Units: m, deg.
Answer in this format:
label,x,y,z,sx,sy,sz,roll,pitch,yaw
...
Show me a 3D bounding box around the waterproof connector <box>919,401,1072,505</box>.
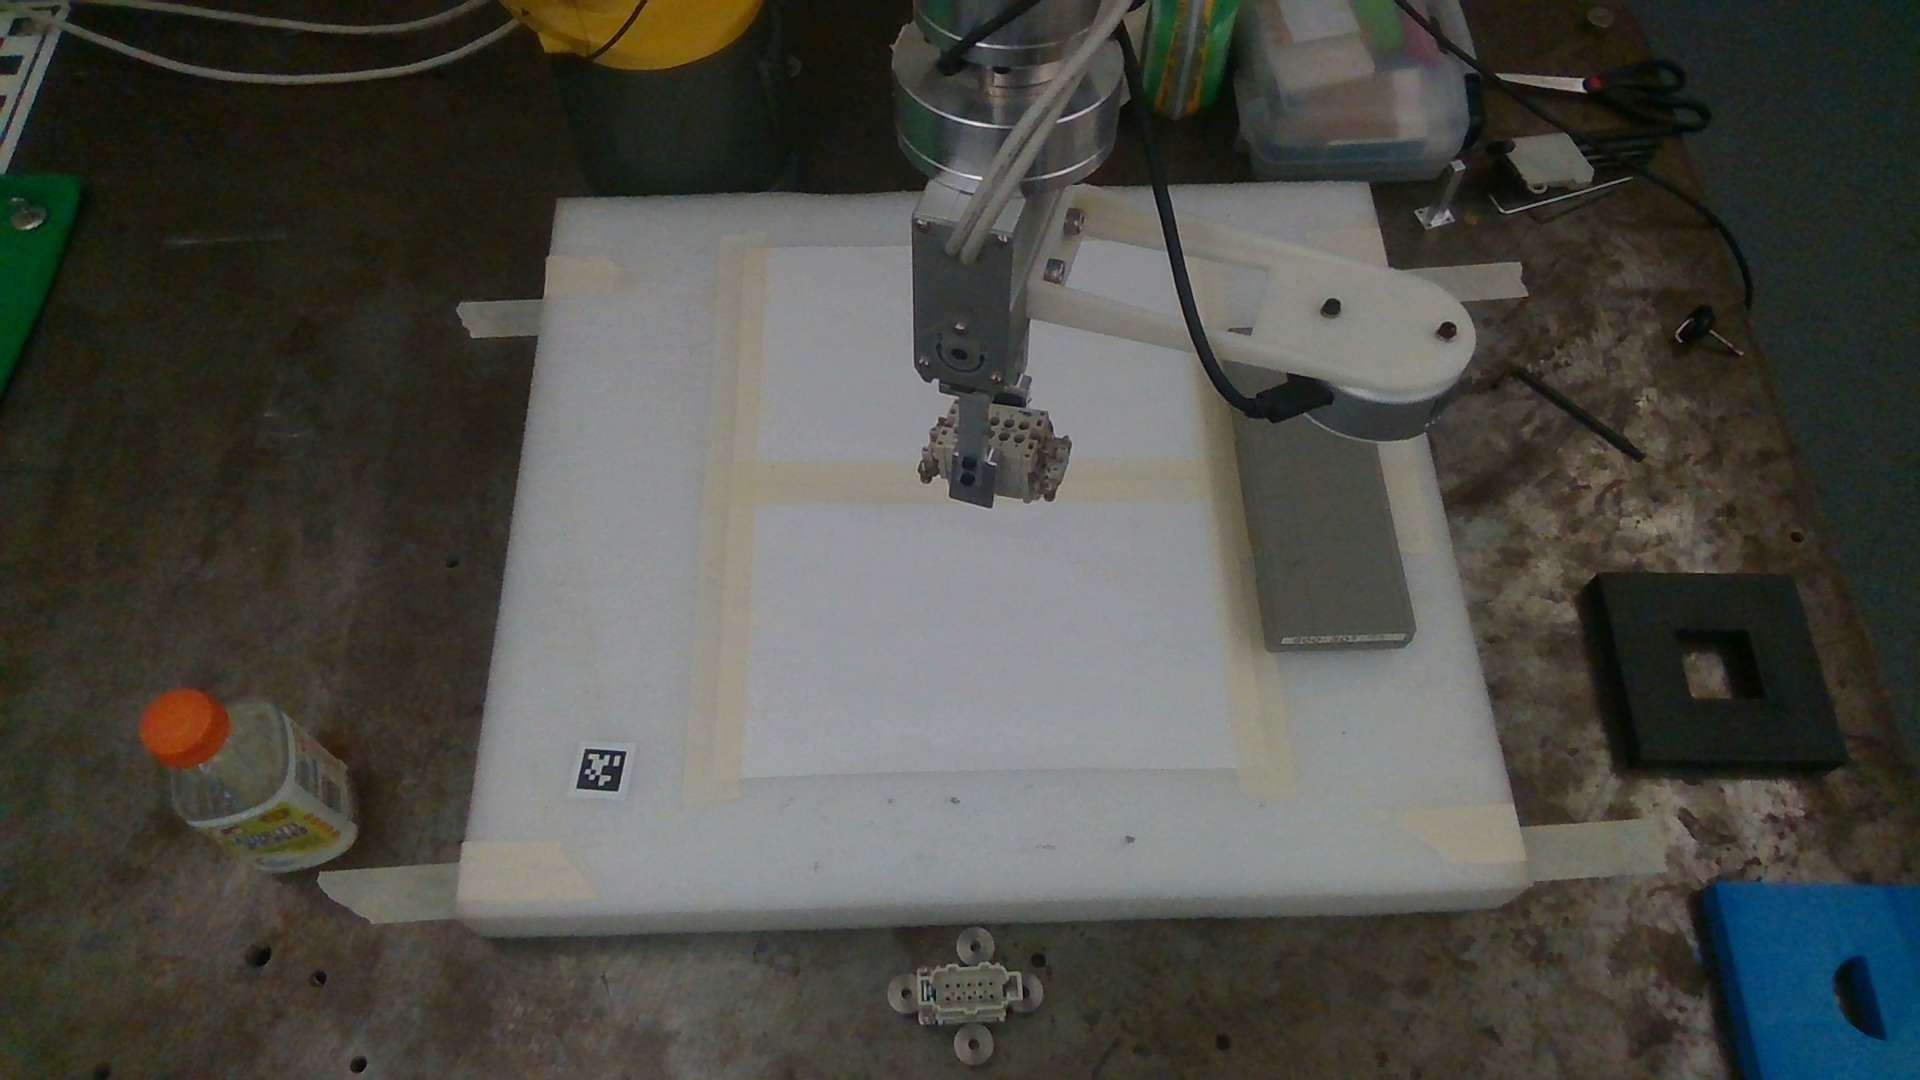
label,x,y,z,sx,sy,sz,roll,pitch,yaw
waterproof connector,0.015,-0.038,0.643,0.069,0.038,0.036,9,55,20
